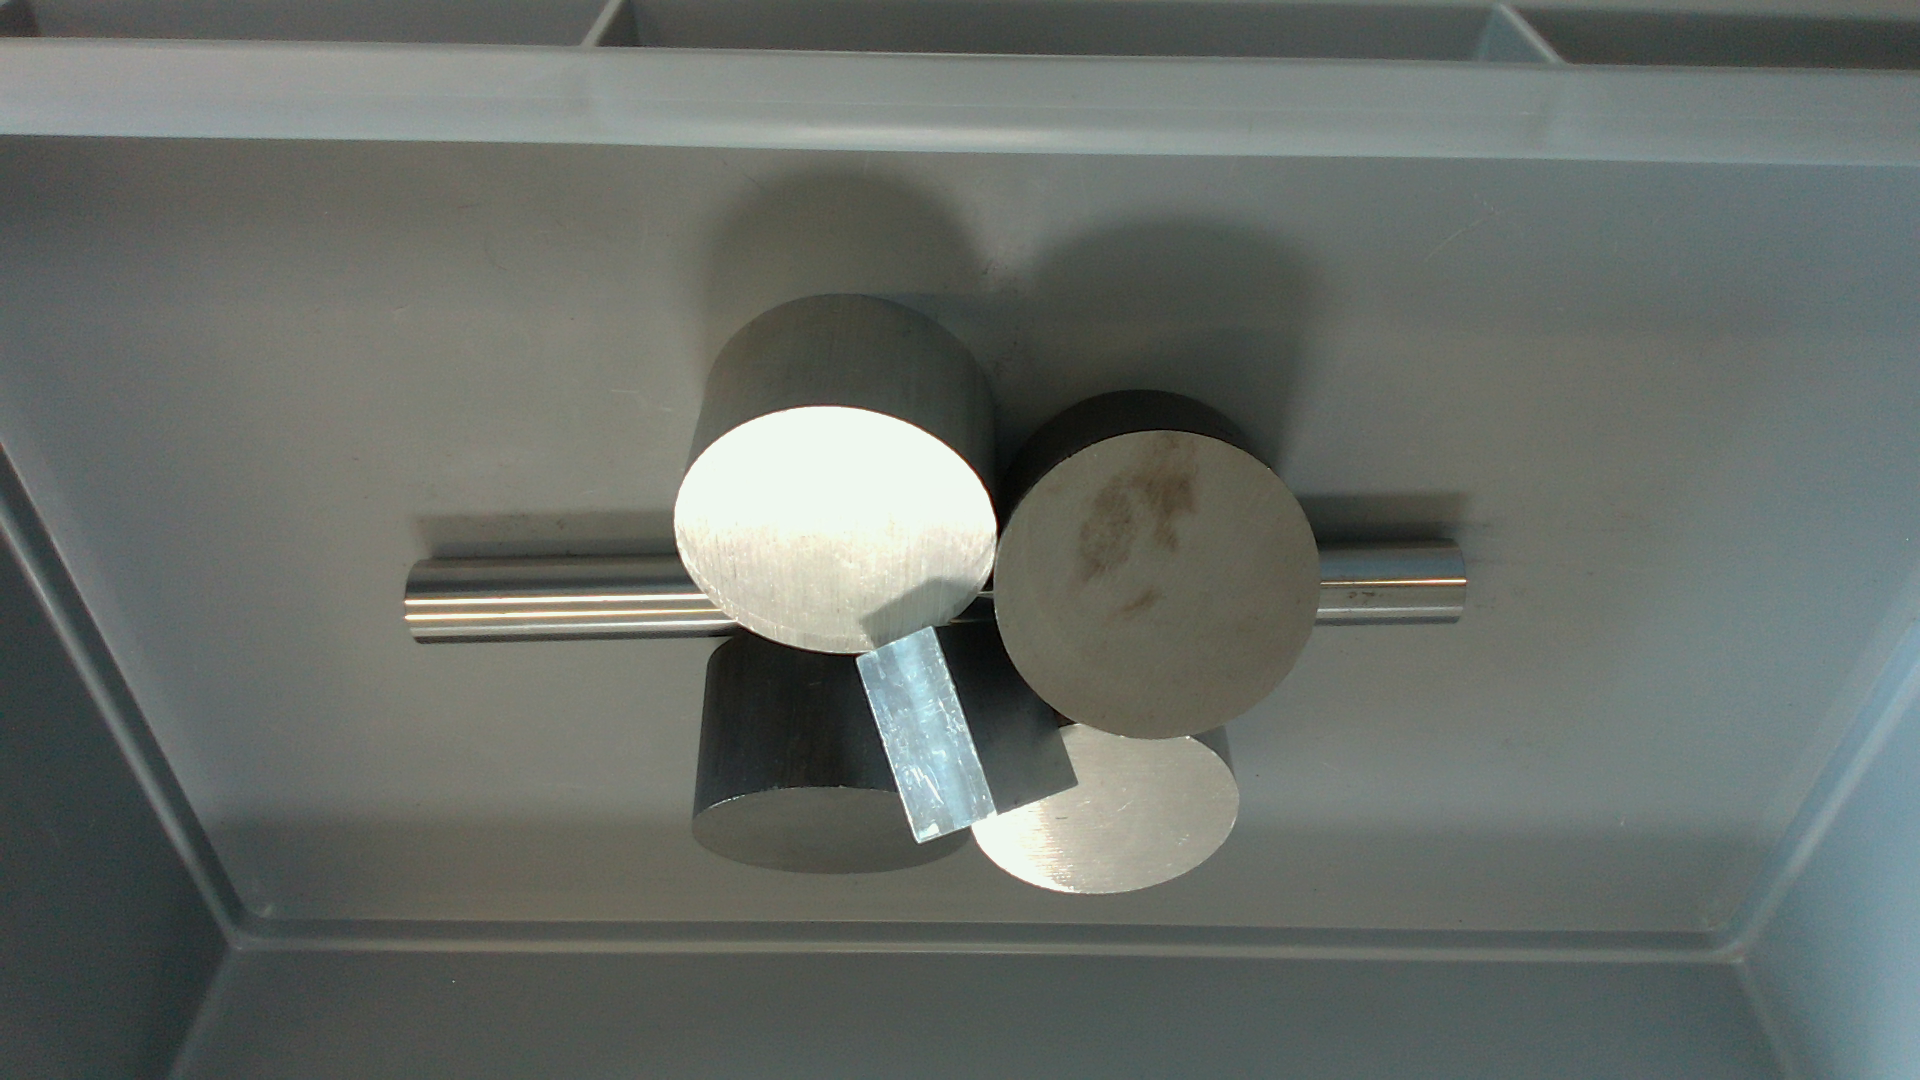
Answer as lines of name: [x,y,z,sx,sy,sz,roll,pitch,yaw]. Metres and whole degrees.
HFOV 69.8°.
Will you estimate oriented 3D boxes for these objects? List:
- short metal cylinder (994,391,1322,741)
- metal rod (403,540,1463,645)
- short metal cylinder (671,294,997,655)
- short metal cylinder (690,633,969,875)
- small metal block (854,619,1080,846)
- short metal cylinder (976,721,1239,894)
short metal cylinder: [0.049,0.005,0.360,0.080,0.050,0.080,0,107,0]
metal rod: [-0.008,0.015,0.401,0.300,0.025,0.025,-1,130,1]
short metal cylinder: [-0.031,-0.016,0.359,0.080,0.050,0.080,0,130,0]
short metal cylinder: [-0.038,0.064,0.411,0.080,0.050,0.080,-1,150,0]
small metal block: [0.003,0.049,0.368,0.025,0.050,0.050,-25,168,26]
short metal cylinder: [0.043,0.065,0.428,0.080,0.050,0.080,0,130,0]
